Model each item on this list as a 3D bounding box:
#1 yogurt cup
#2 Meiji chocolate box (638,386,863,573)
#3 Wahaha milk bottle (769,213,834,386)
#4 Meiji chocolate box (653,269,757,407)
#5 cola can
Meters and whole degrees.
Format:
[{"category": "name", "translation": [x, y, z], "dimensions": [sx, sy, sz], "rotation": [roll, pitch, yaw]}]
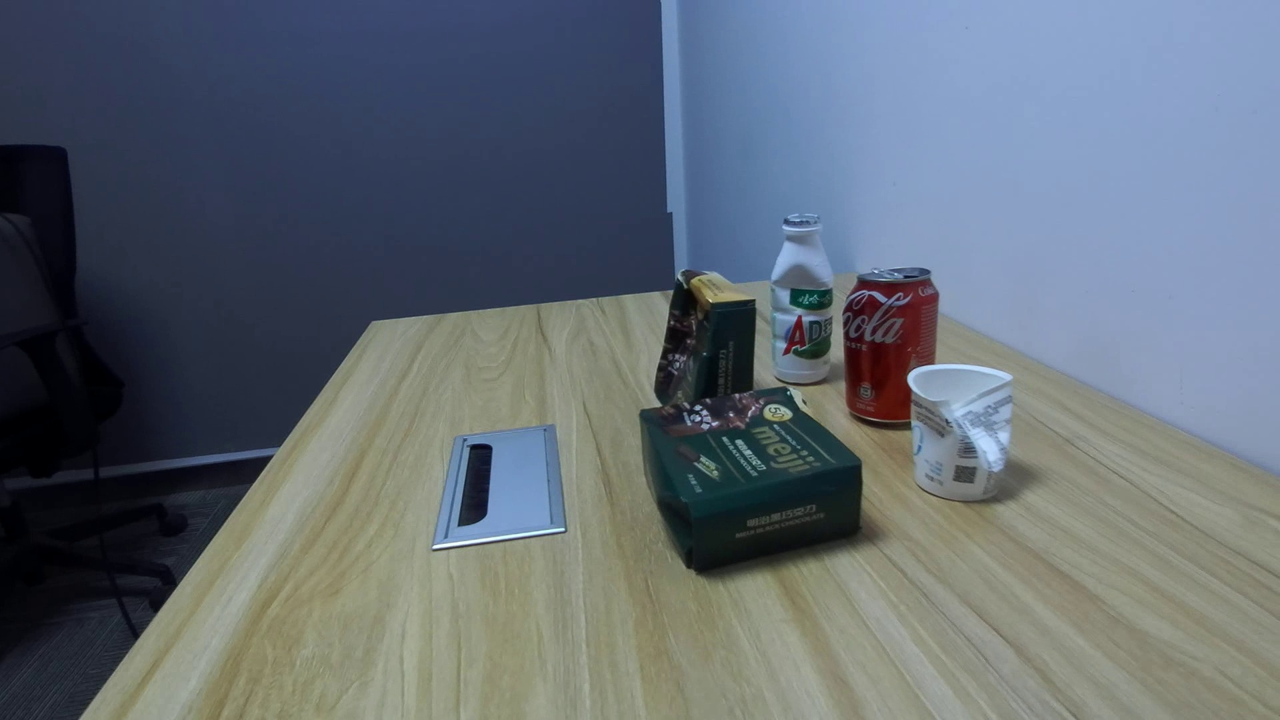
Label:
[{"category": "yogurt cup", "translation": [0.203, 0.046, 0.453], "dimensions": [0.067, 0.070, 0.067], "rotation": [-5, 20, 2]}, {"category": "Meiji chocolate box", "translation": [0.064, 0.070, 0.438], "dimensions": [0.123, 0.058, 0.115], "rotation": [-8, 23, -11]}, {"category": "Wahaha milk bottle", "translation": [0.143, -0.053, 0.624], "dimensions": [0.056, 0.148, 0.056], "rotation": [-2, 23, 1]}, {"category": "Meiji chocolate box", "translation": [0.054, -0.007, 0.564], "dimensions": [0.052, 0.117, 0.117], "rotation": [-1, 19, -15]}, {"category": "cola can", "translation": [0.195, -0.011, 0.545], "dimensions": [0.072, 0.117, 0.065], "rotation": [-9, 20, -15]}]
